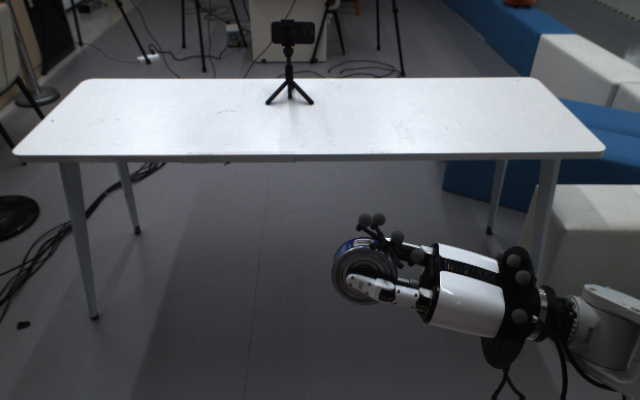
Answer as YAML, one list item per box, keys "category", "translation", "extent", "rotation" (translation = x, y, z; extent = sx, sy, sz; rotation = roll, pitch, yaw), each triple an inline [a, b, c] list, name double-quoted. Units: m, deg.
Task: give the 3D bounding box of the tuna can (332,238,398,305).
- category: "tuna can"
  translation: [0.061, 0.099, 0.625]
  extent: [0.085, 0.085, 0.034]
  rotation: [7, 19, 6]
